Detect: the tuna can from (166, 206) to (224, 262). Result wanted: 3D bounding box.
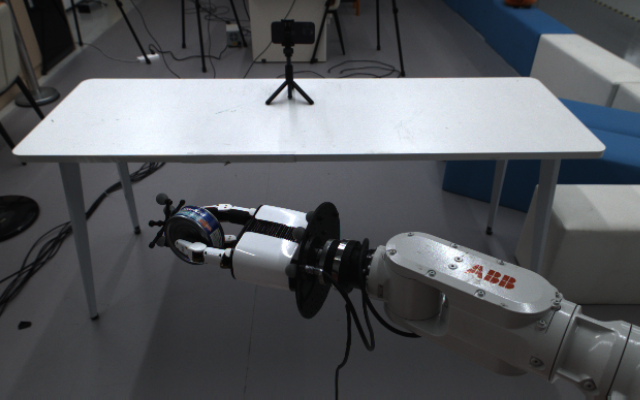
[{"bbox_3d":[-0.184,0.050,0.714,0.085,0.085,0.034,14,32,16],"label":"tuna can"}]
